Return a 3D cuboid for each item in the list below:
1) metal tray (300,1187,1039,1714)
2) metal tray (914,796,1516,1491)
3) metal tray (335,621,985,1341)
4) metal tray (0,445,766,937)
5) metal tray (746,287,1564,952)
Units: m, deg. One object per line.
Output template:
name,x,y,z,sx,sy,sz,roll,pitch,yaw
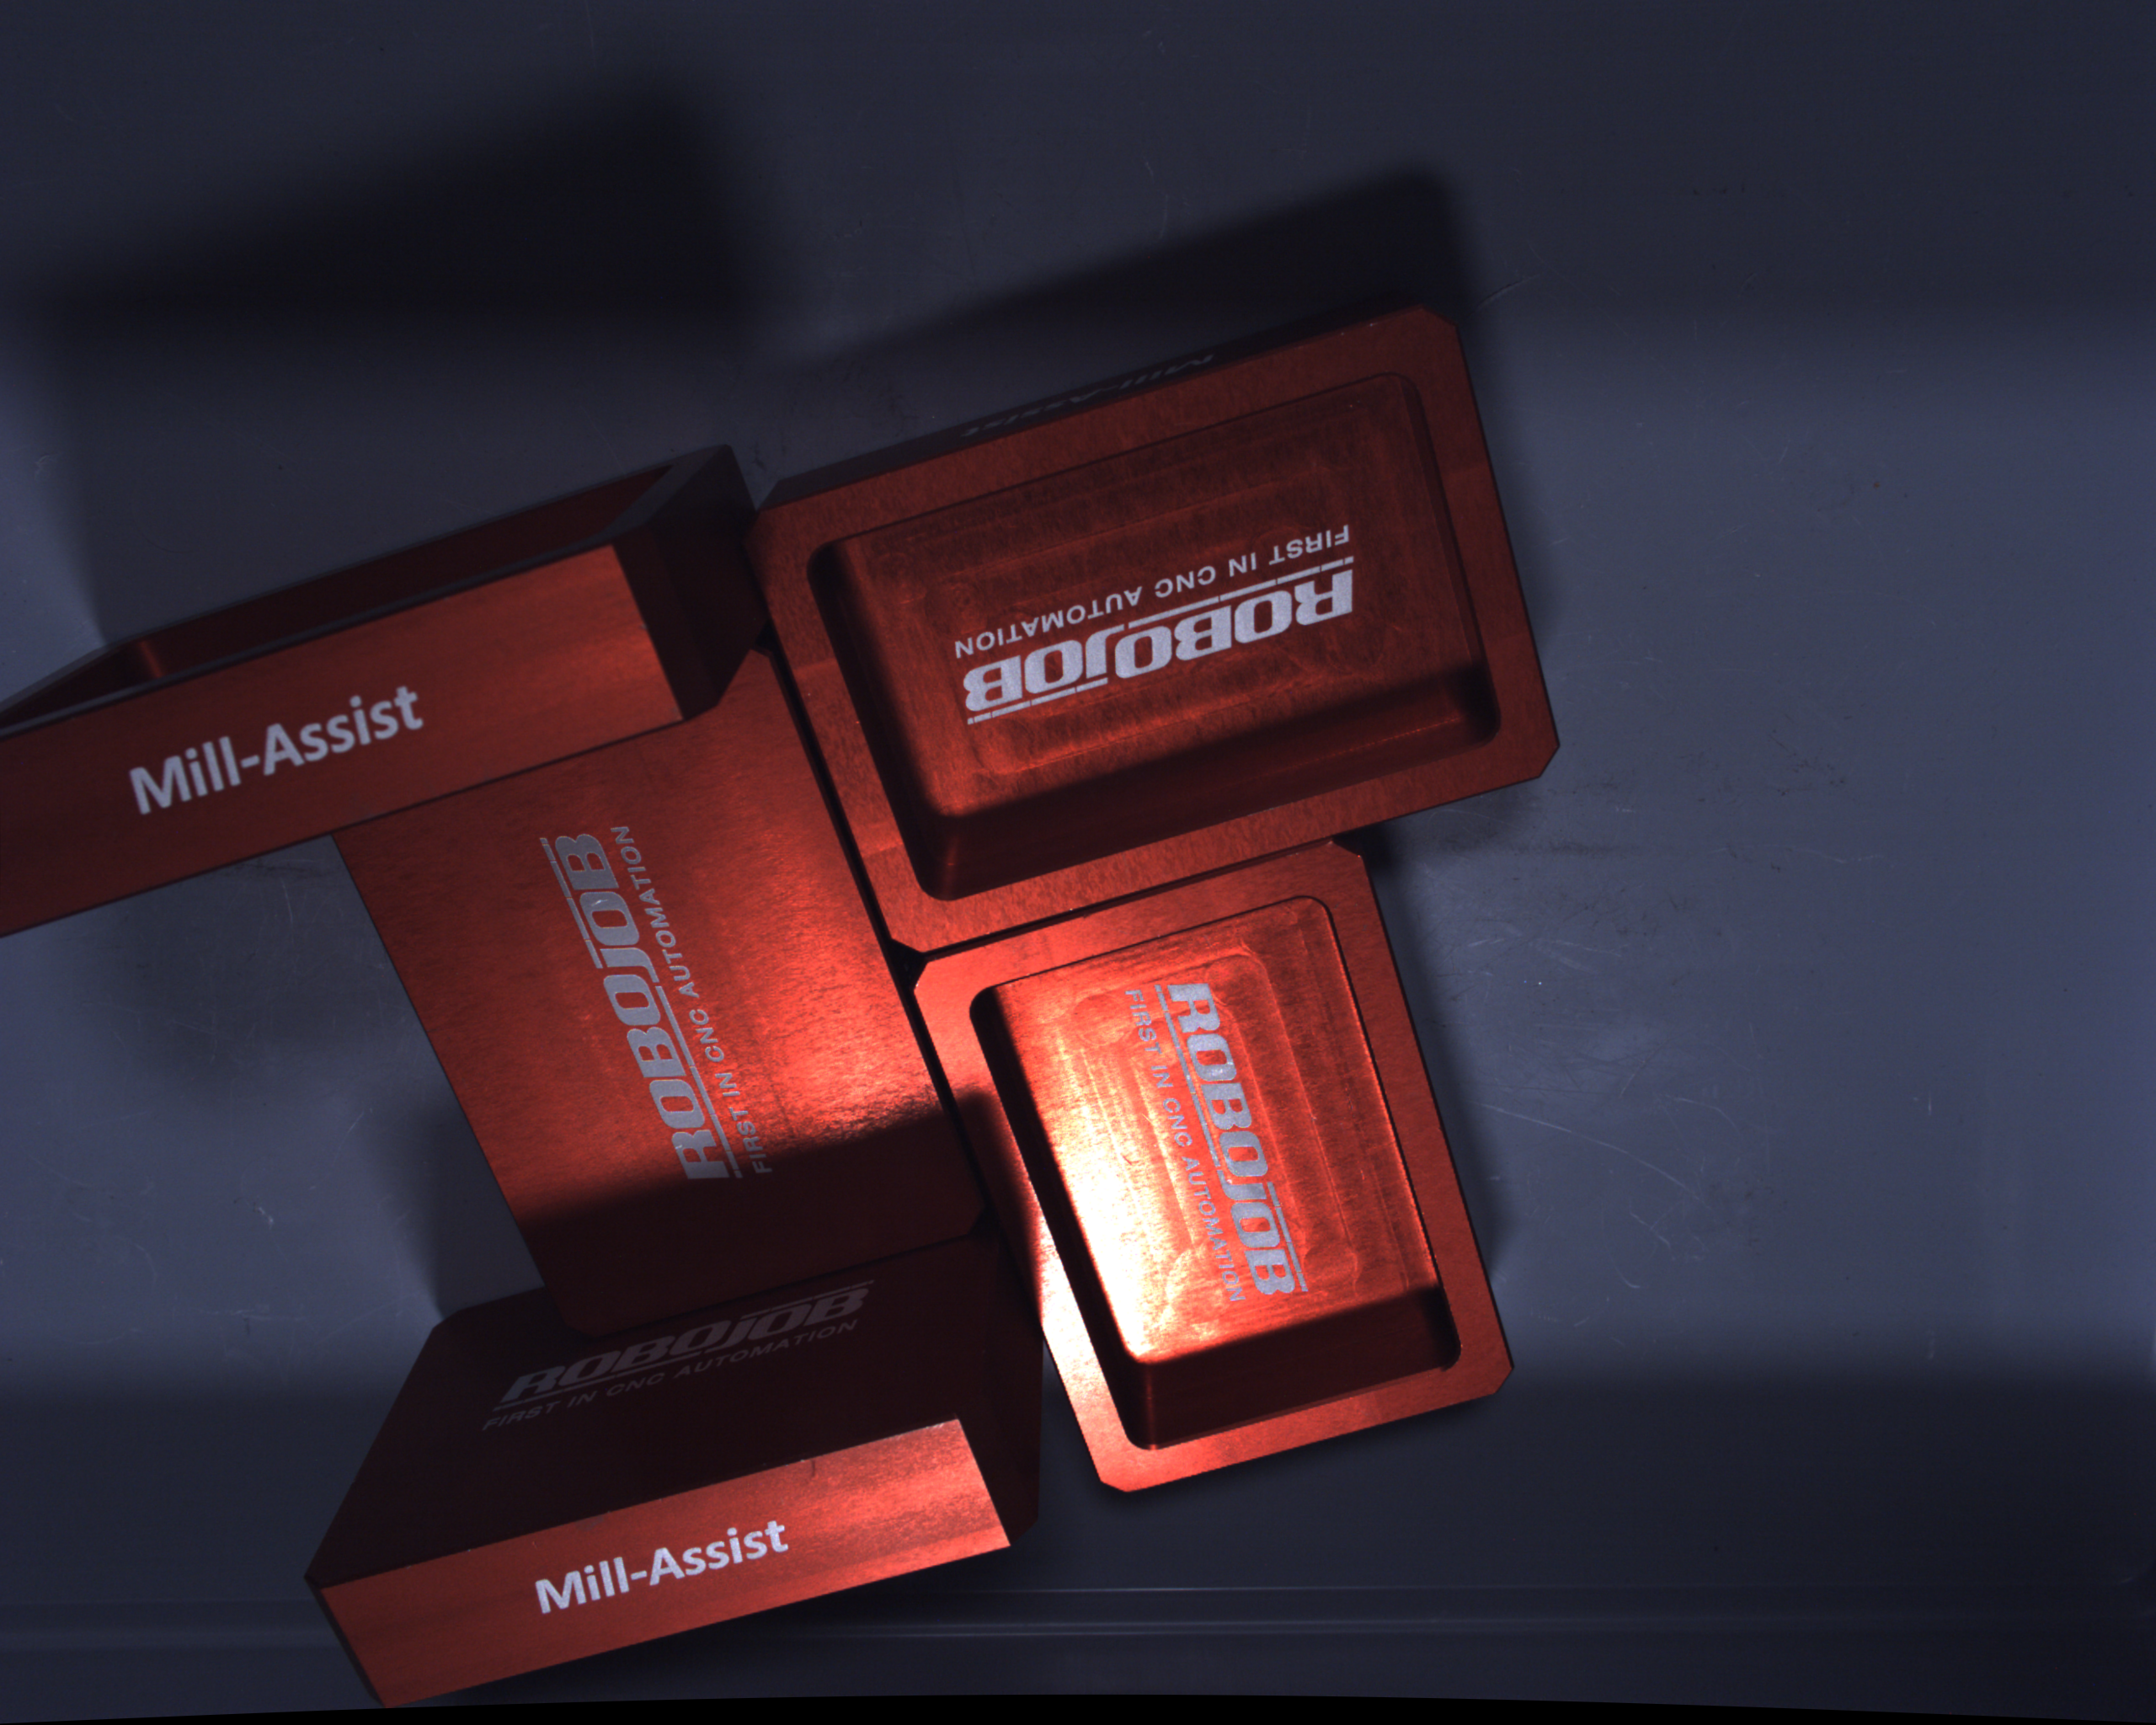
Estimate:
metal tray,-0.074,0.111,0.413,0.131,0.090,0.030,-16,110,5
metal tray,0.030,0.059,0.429,0.090,0.030,0.129,-16,110,5
metal tray,-0.080,0.024,0.413,0.090,0.030,0.129,-16,110,5
metal tray,-0.123,-0.032,0.359,0.131,0.090,0.030,-17,109,5
metal tray,0.015,-0.044,0.391,0.131,0.030,0.089,-16,110,5
